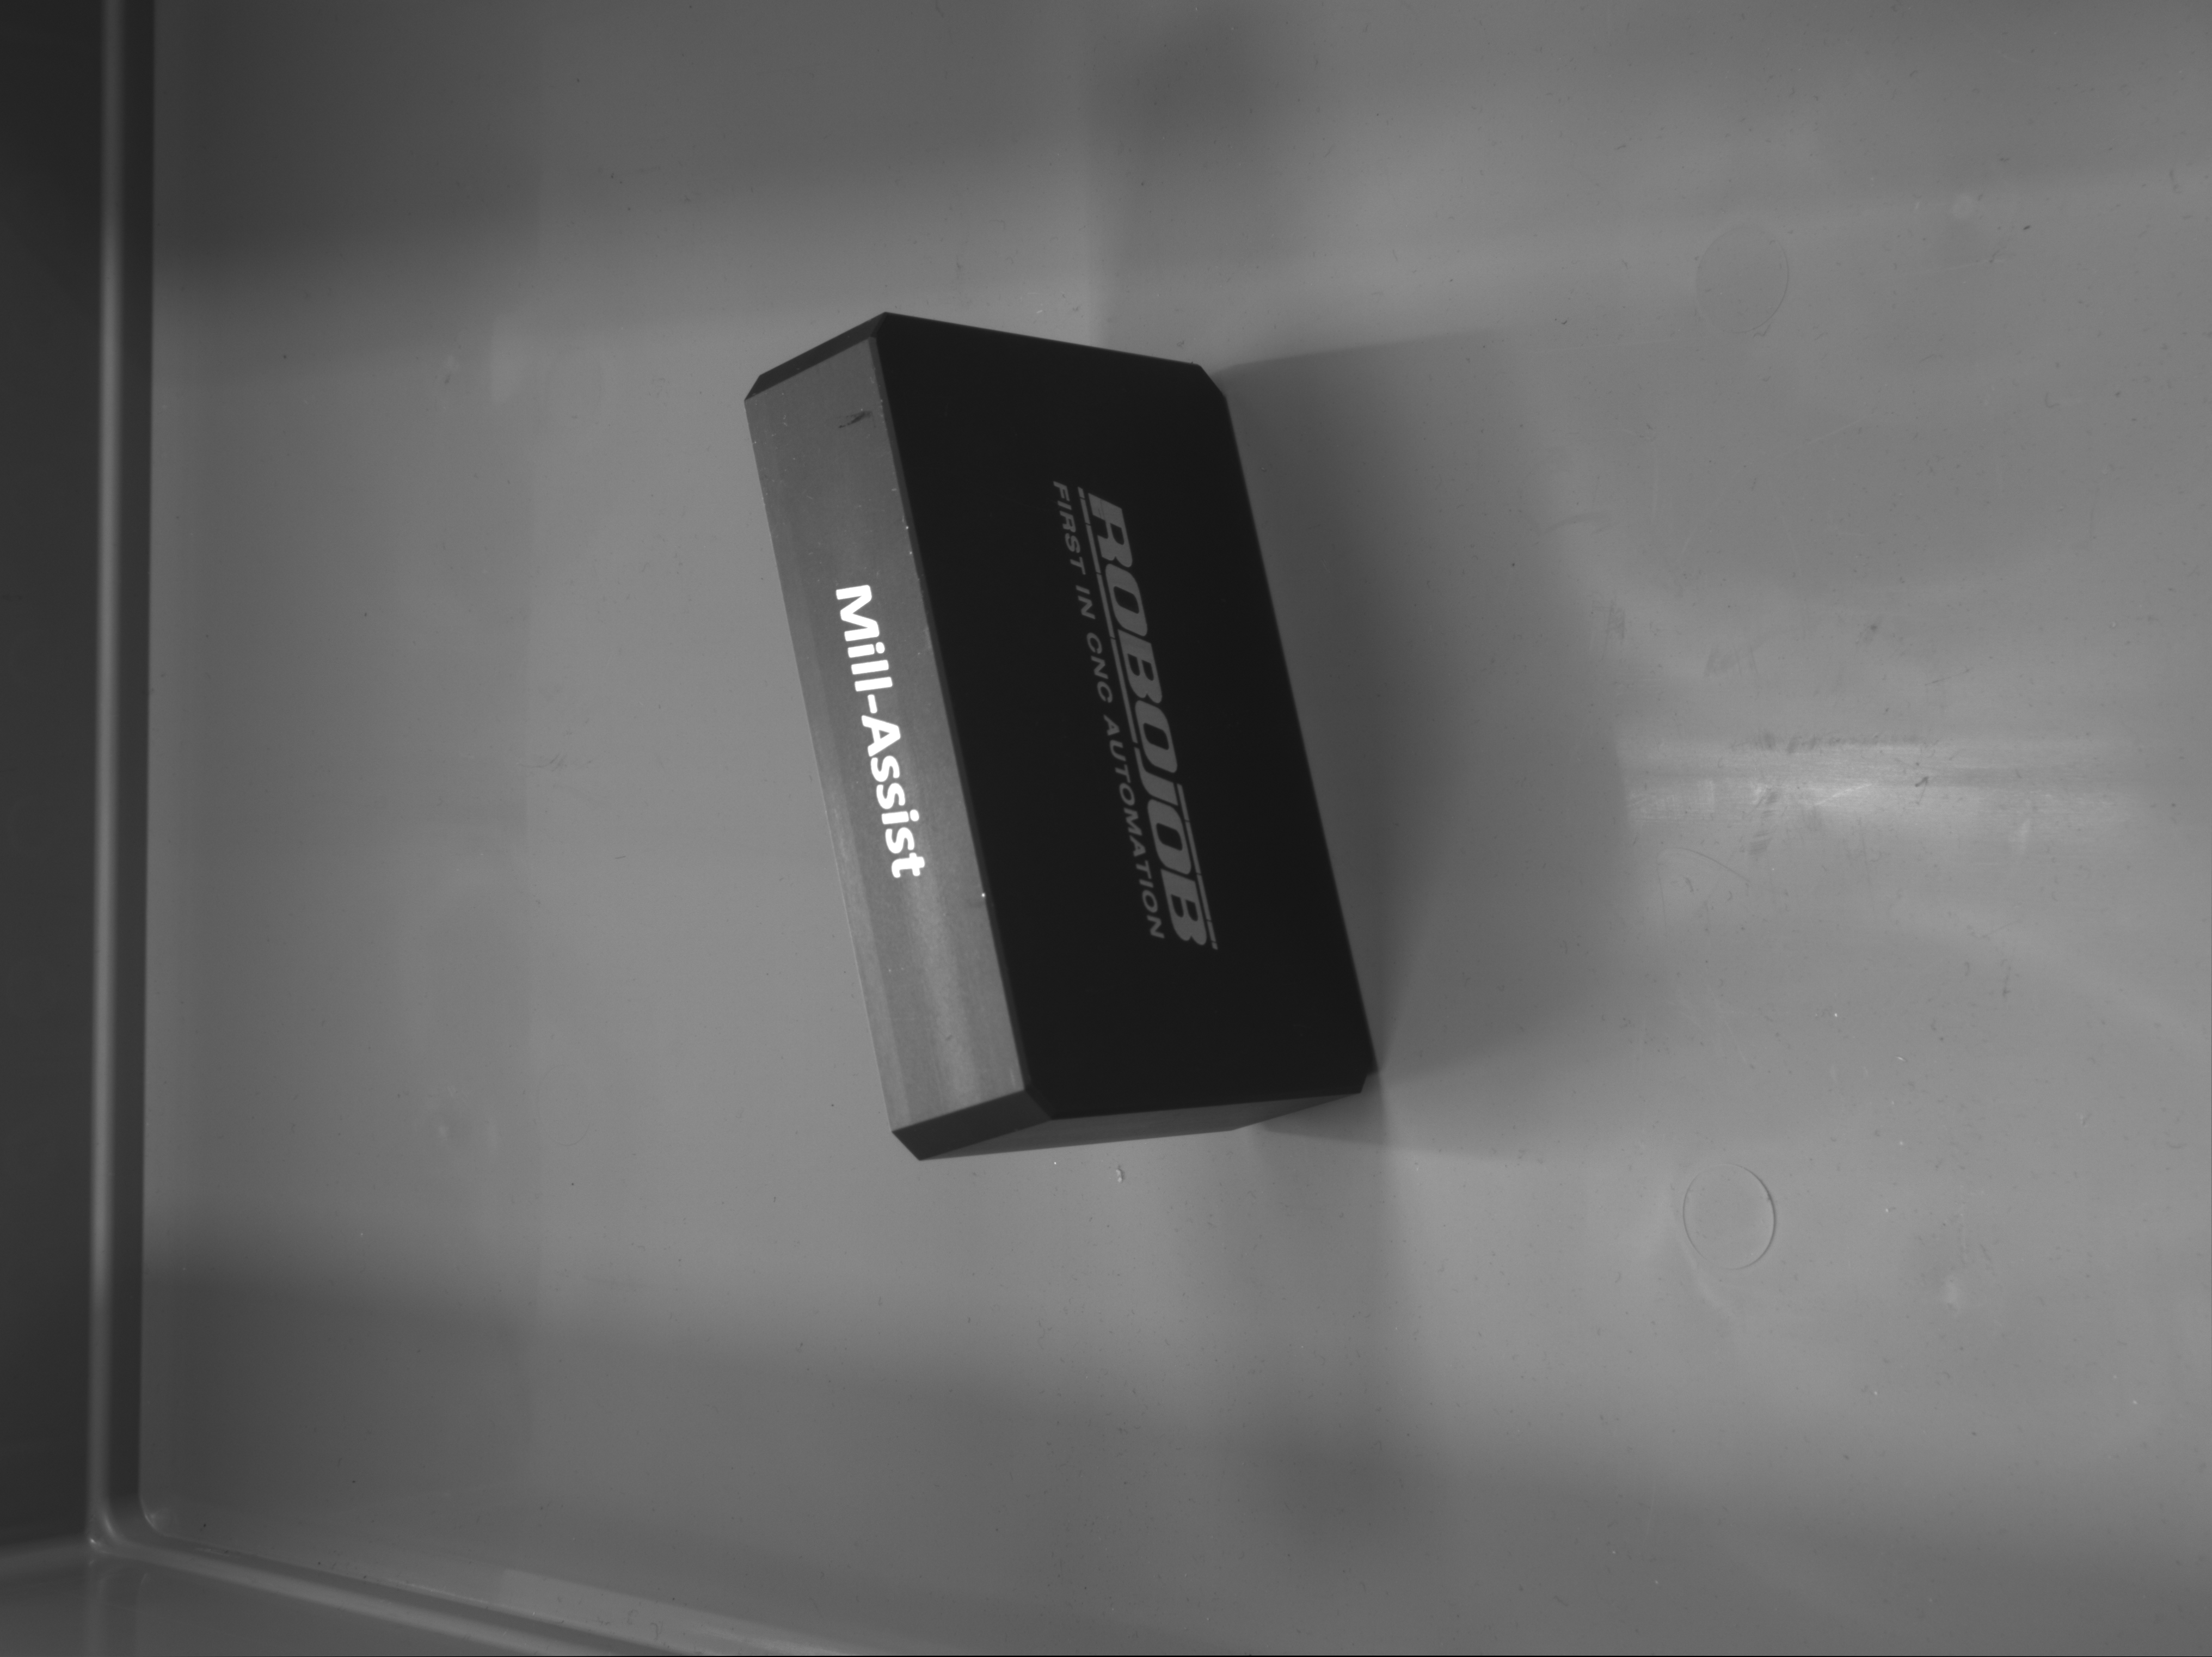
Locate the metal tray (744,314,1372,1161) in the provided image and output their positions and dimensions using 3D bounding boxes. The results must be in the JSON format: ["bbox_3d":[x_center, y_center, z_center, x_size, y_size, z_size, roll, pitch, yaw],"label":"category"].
[{"bbox_3d":[-0.007,-0.014,0.606,0.030,0.090,0.130,-20,77,37],"label":"metal tray"}]
